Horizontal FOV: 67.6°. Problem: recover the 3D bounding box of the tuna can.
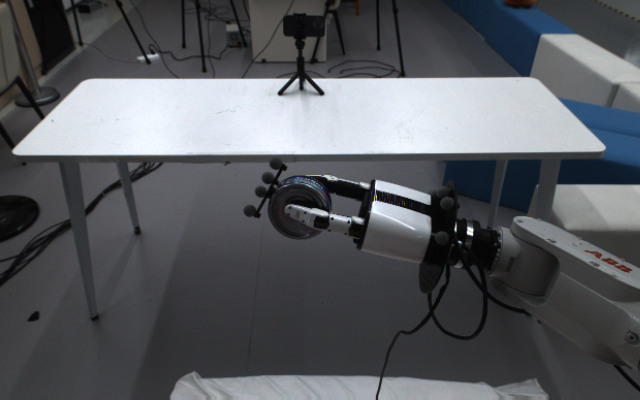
[{"bbox_3d":[-0.024,0.014,0.664,0.085,0.085,0.034,3,21,2],"label":"tuna can"}]
